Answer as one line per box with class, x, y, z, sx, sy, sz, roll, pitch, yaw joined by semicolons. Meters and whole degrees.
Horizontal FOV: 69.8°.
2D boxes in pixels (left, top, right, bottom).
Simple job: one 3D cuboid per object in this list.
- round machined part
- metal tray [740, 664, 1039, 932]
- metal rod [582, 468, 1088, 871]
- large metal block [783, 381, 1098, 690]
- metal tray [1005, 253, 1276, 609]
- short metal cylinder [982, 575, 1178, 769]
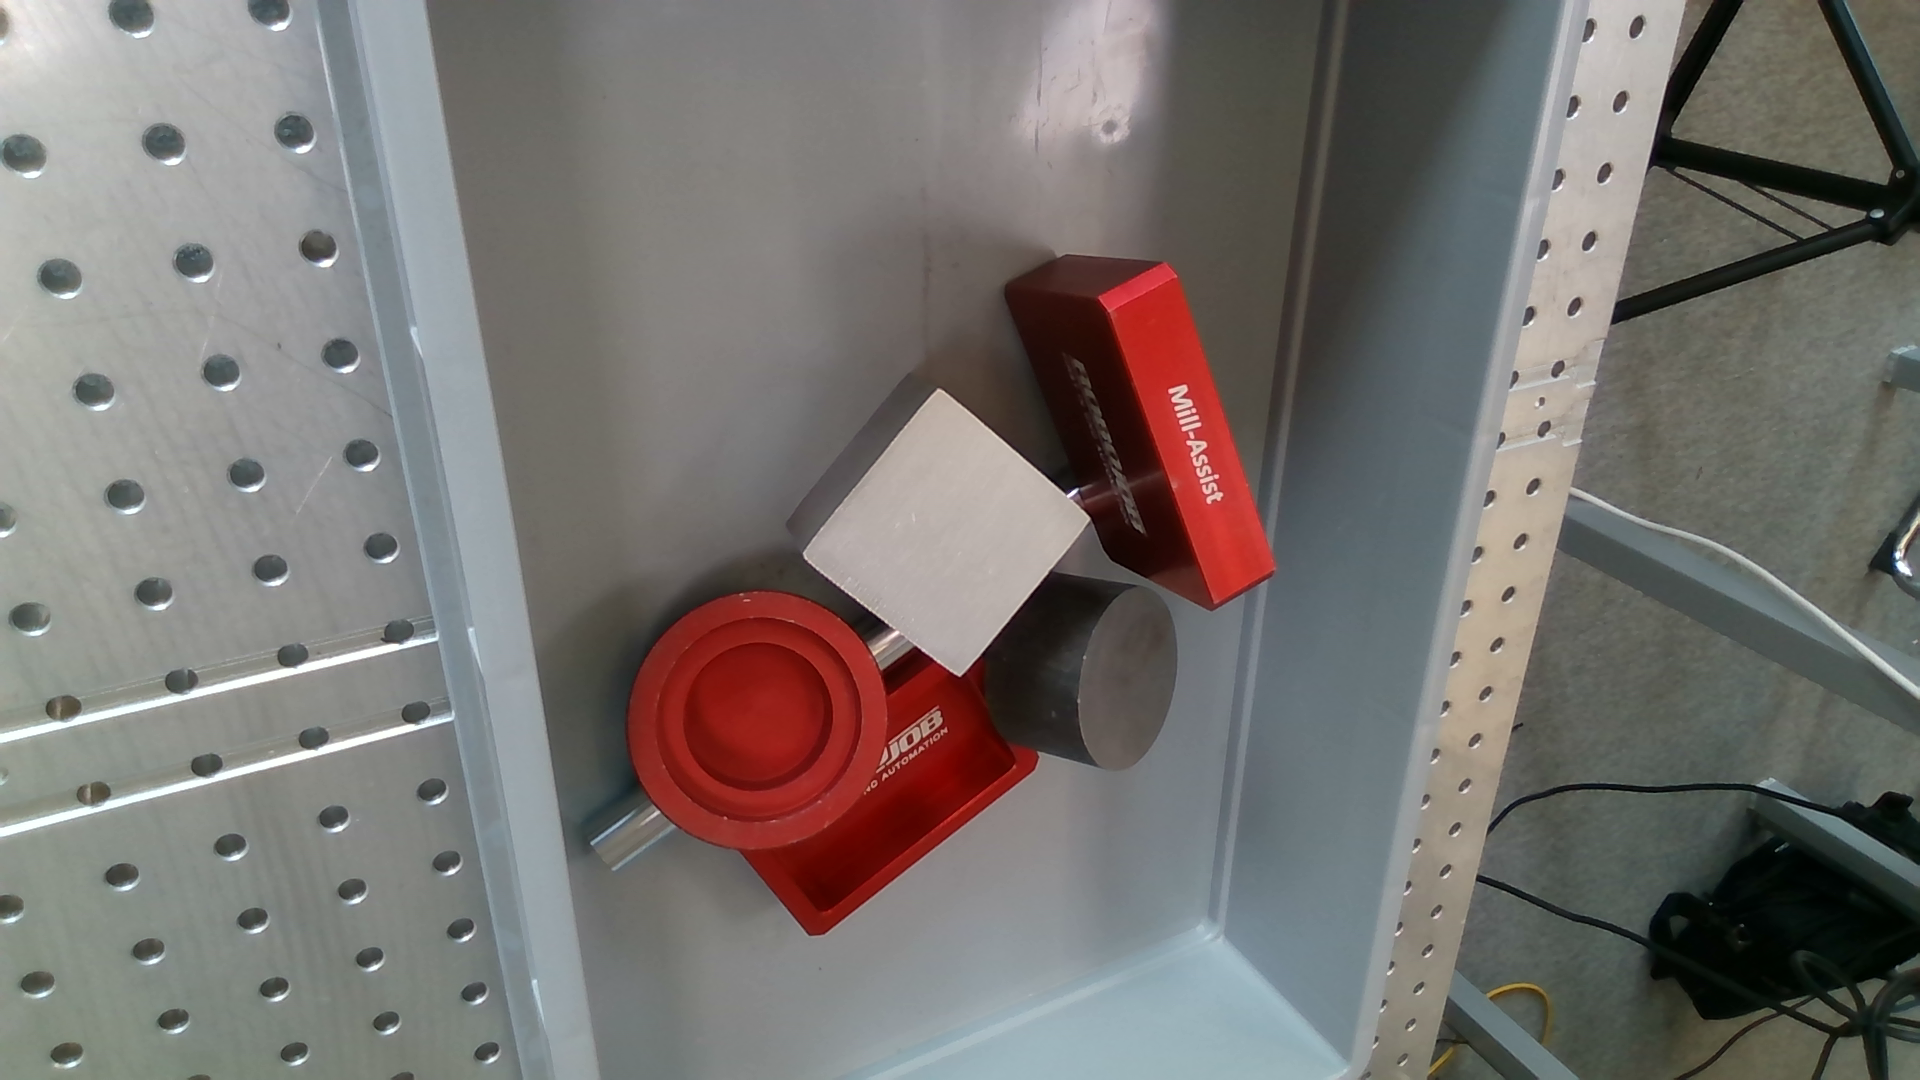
round machined part;-0.079;0.068;0.538;0.098;0.042;0.098;0;89;-12
metal tray;-0.037;0.103;0.610;0.130;0.030;0.090;-36;128;-10
metal rod;-0.026;0.037;0.583;0.300;0.025;0.025;-36;128;-10
large metal block;-0.009;-0.004;0.533;0.080;0.050;0.080;41;91;-21
metal tray;0.069;-0.045;0.538;0.030;0.090;0.130;-29;112;-13
short metal cylinder;0.054;0.056;0.609;0.080;0.050;0.080;-13;106;-50
